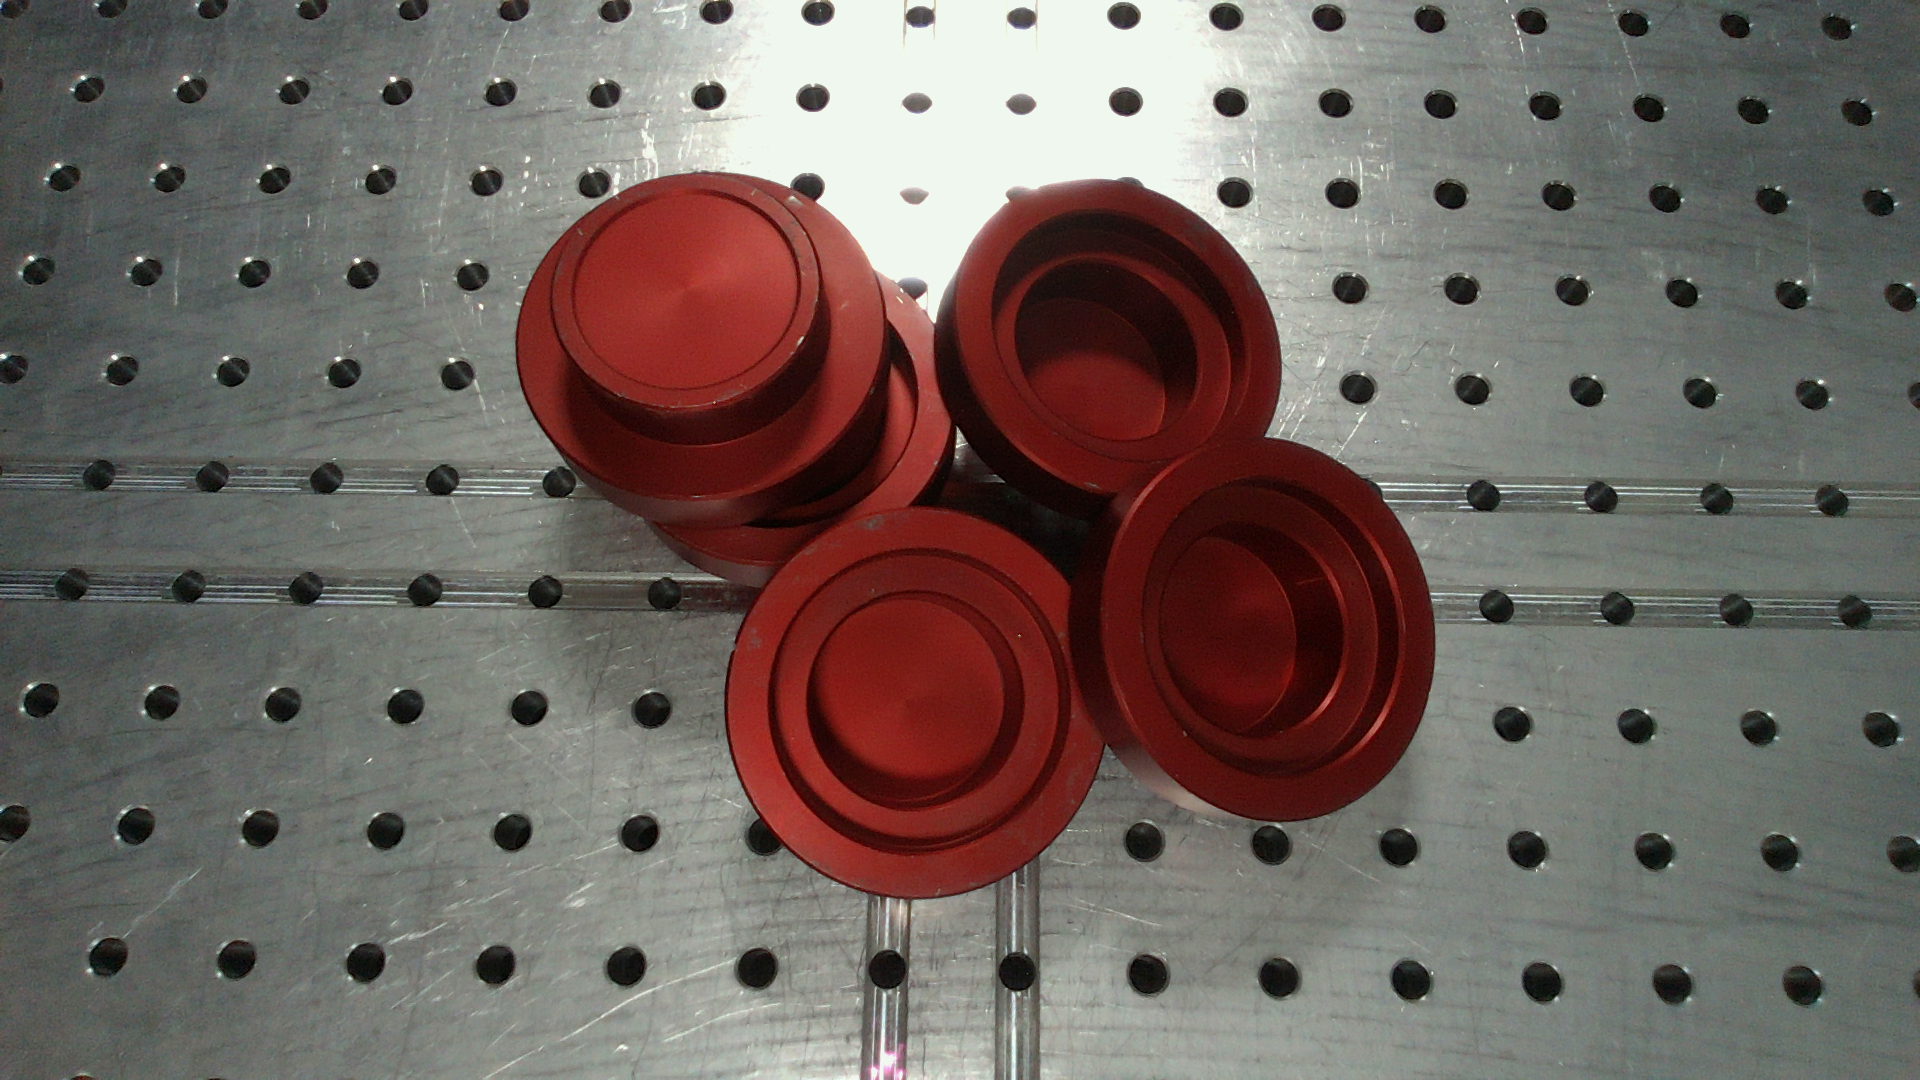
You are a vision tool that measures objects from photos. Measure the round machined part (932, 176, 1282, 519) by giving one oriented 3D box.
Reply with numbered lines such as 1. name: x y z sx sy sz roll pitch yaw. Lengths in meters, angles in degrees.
1. round machined part: 0.039 -0.051 0.397 0.098 0.042 0.098 5 70 -15

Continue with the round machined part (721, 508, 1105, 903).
1. round machined part: -0.013 0.043 0.363 0.098 0.042 0.098 1 84 -10

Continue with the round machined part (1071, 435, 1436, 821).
1. round machined part: 0.074 0.024 0.367 0.098 0.042 0.098 4 80 -20

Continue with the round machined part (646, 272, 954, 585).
1. round machined part: -0.050 -0.032 0.399 0.098 0.042 0.098 0 70 0

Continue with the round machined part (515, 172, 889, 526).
1. round machined part: -0.069 -0.056 0.363 0.098 0.042 0.098 0 70 0
